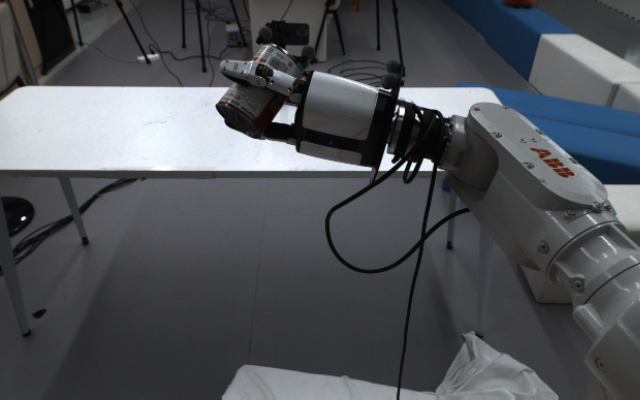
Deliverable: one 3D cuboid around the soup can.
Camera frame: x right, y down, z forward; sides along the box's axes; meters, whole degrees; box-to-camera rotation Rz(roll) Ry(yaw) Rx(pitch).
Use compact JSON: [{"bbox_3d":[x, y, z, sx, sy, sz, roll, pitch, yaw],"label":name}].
[{"bbox_3d":[-0.075,-0.138,0.614,0.067,0.067,0.101,26,75,31],"label":"soup can"}]
